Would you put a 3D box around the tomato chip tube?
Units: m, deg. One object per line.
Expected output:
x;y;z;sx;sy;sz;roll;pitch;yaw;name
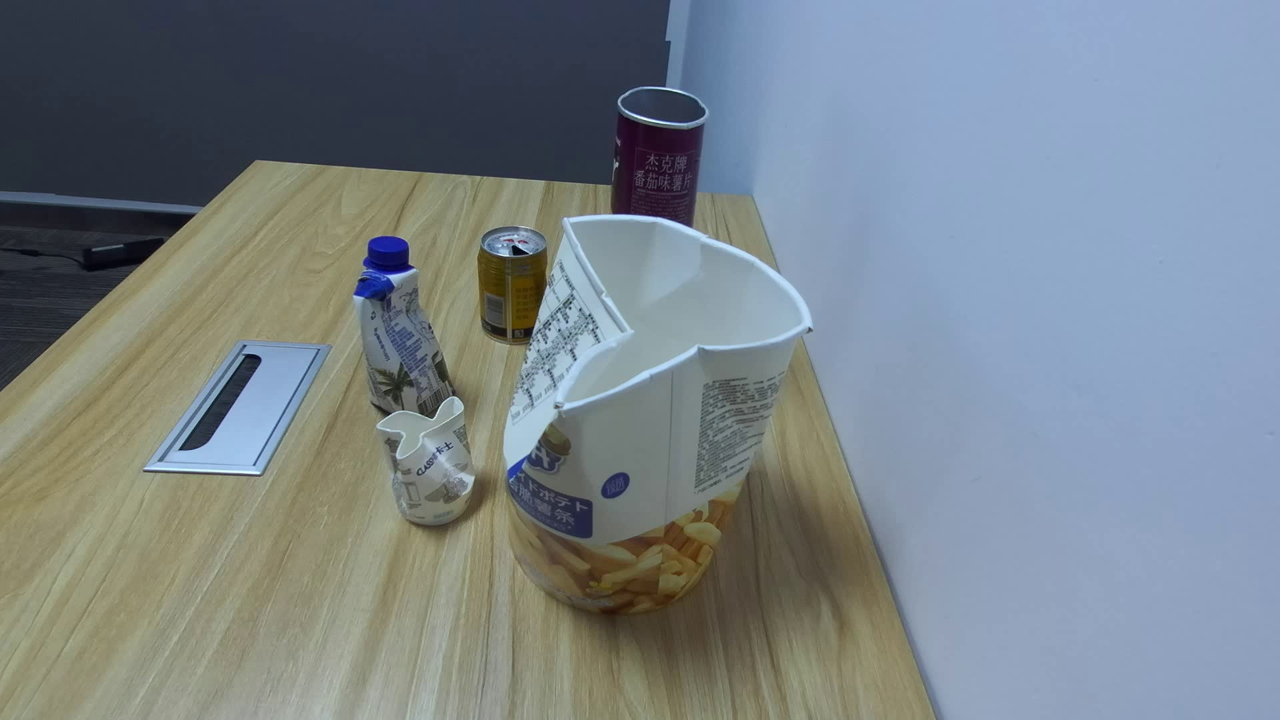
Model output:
0.009;-0.094;0.592;0.076;0.234;0.080;28;38;30;tomato chip tube

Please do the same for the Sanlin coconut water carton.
-0.196;-0.021;0.550;0.056;0.145;0.068;17;44;27;Sanlin coconut water carton

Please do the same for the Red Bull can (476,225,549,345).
-0.115;-0.067;0.656;0.068;0.093;0.068;4;32;-2;Red Bull can

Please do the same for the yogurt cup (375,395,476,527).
-0.146;0.070;0.490;0.055;0.072;0.055;-18;41;-27;yogurt cup

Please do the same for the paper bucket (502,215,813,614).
-0.013;0.034;0.447;0.170;0.202;0.162;-15;41;-29;paper bucket
